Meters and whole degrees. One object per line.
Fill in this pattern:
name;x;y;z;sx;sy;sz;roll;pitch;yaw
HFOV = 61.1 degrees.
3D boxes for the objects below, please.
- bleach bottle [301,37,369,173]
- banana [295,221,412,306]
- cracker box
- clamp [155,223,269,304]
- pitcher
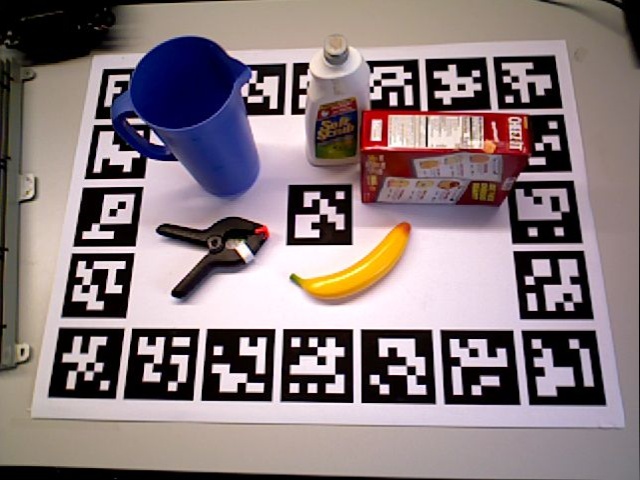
bleach bottle;0.015;-0.184;0.755;0.102;0.254;0.067;-1;68;3
banana;0.063;0.041;0.792;0.196;0.039;0.074;-33;70;-7
cracker box;0.170;-0.106;0.744;0.213;0.166;0.071;0;66;6
clamp;-0.156;0.019;0.809;0.164;0.037;0.121;-16;68;-3
pitcher;-0.172;-0.151;0.738;0.187;0.246;0.132;-18;68;-6
